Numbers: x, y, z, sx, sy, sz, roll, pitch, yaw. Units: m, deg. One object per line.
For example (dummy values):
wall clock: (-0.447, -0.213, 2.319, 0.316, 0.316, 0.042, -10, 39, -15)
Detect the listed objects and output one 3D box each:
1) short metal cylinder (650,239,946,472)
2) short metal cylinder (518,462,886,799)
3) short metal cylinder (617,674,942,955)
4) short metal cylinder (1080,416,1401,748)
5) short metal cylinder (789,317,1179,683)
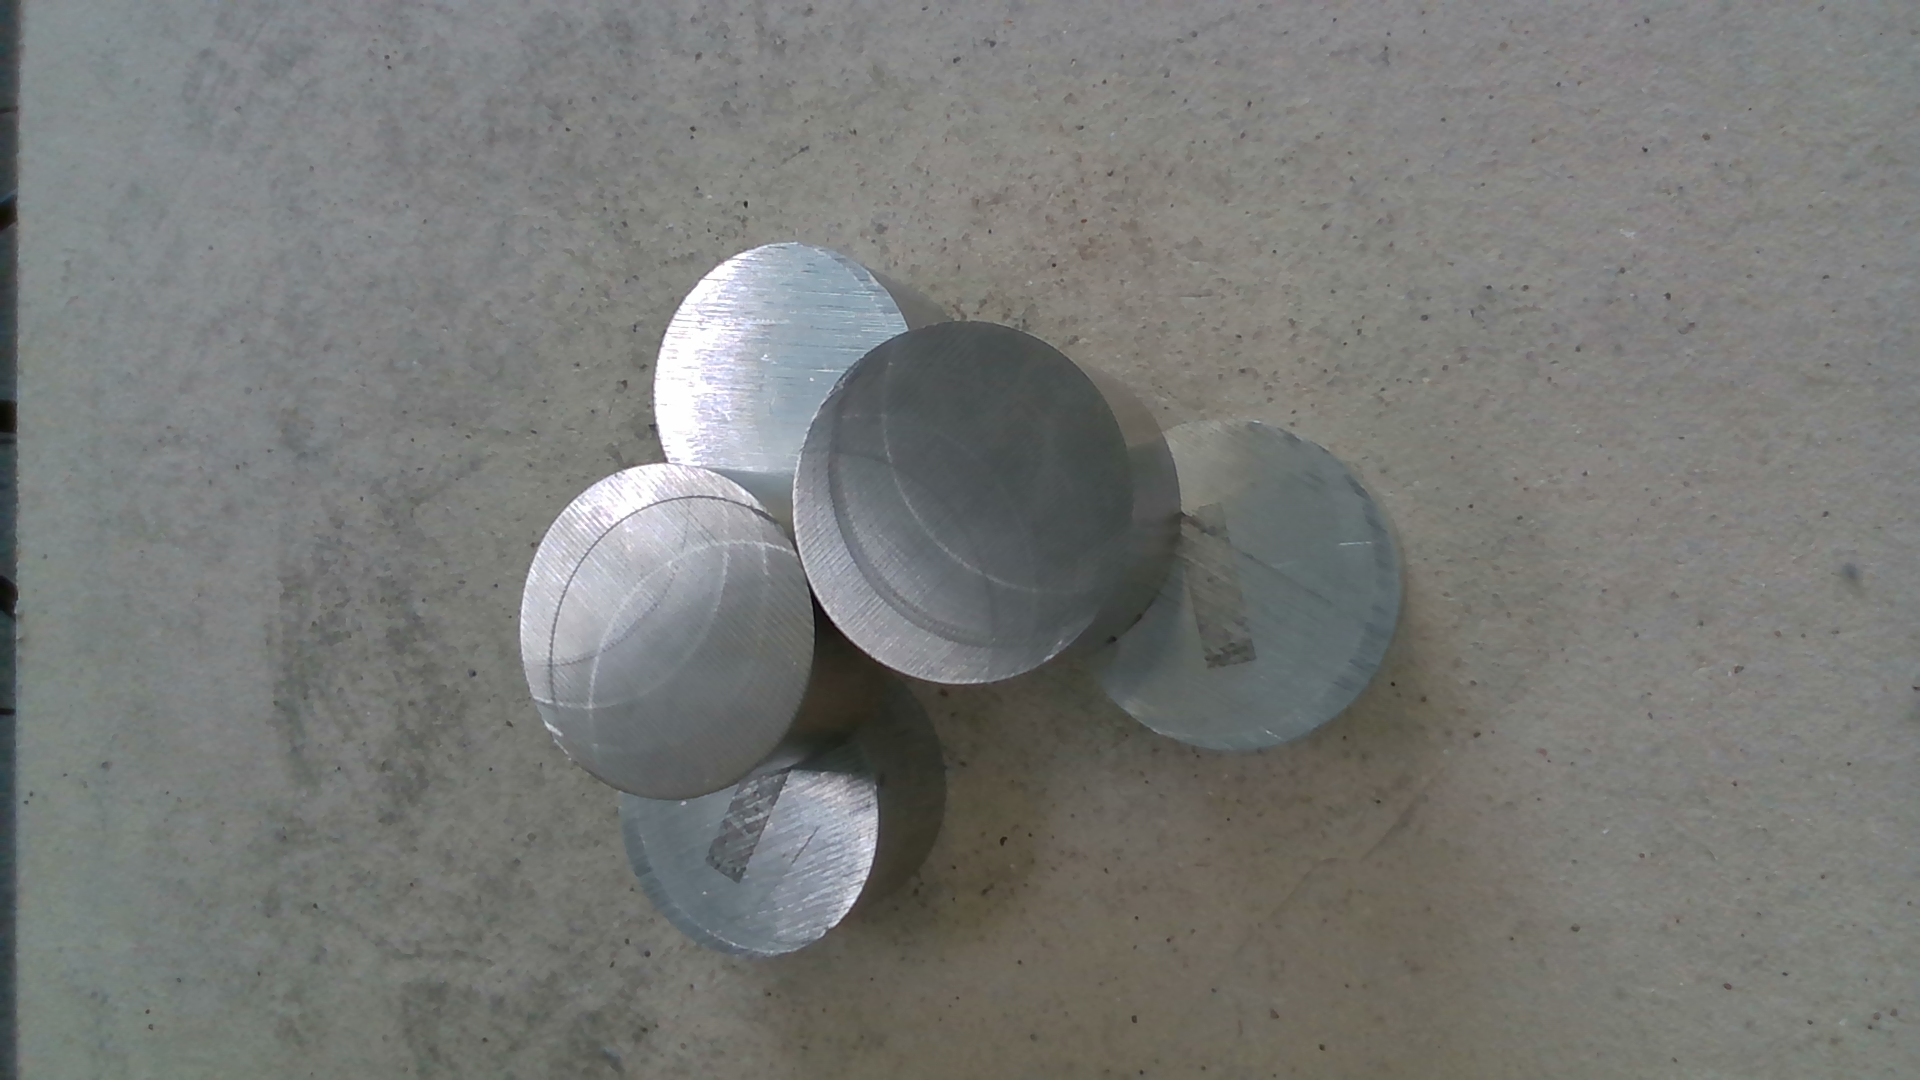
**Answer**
short metal cylinder: (-0.041, -0.041, 0.395, 0.080, 0.050, 0.080, 0, 90, 20)
short metal cylinder: (-0.063, 0.021, 0.350, 0.080, 0.050, 0.080, 0, 91, 20)
short metal cylinder: (-0.051, 0.073, 0.400, 0.080, 0.050, 0.080, 0, 90, 20)
short metal cylinder: (0.072, 0.010, 0.355, 0.080, 0.050, 0.080, 0, 90, 20)
short metal cylinder: (0.007, -0.009, 0.324, 0.080, 0.050, 0.080, 0, 90, 20)
